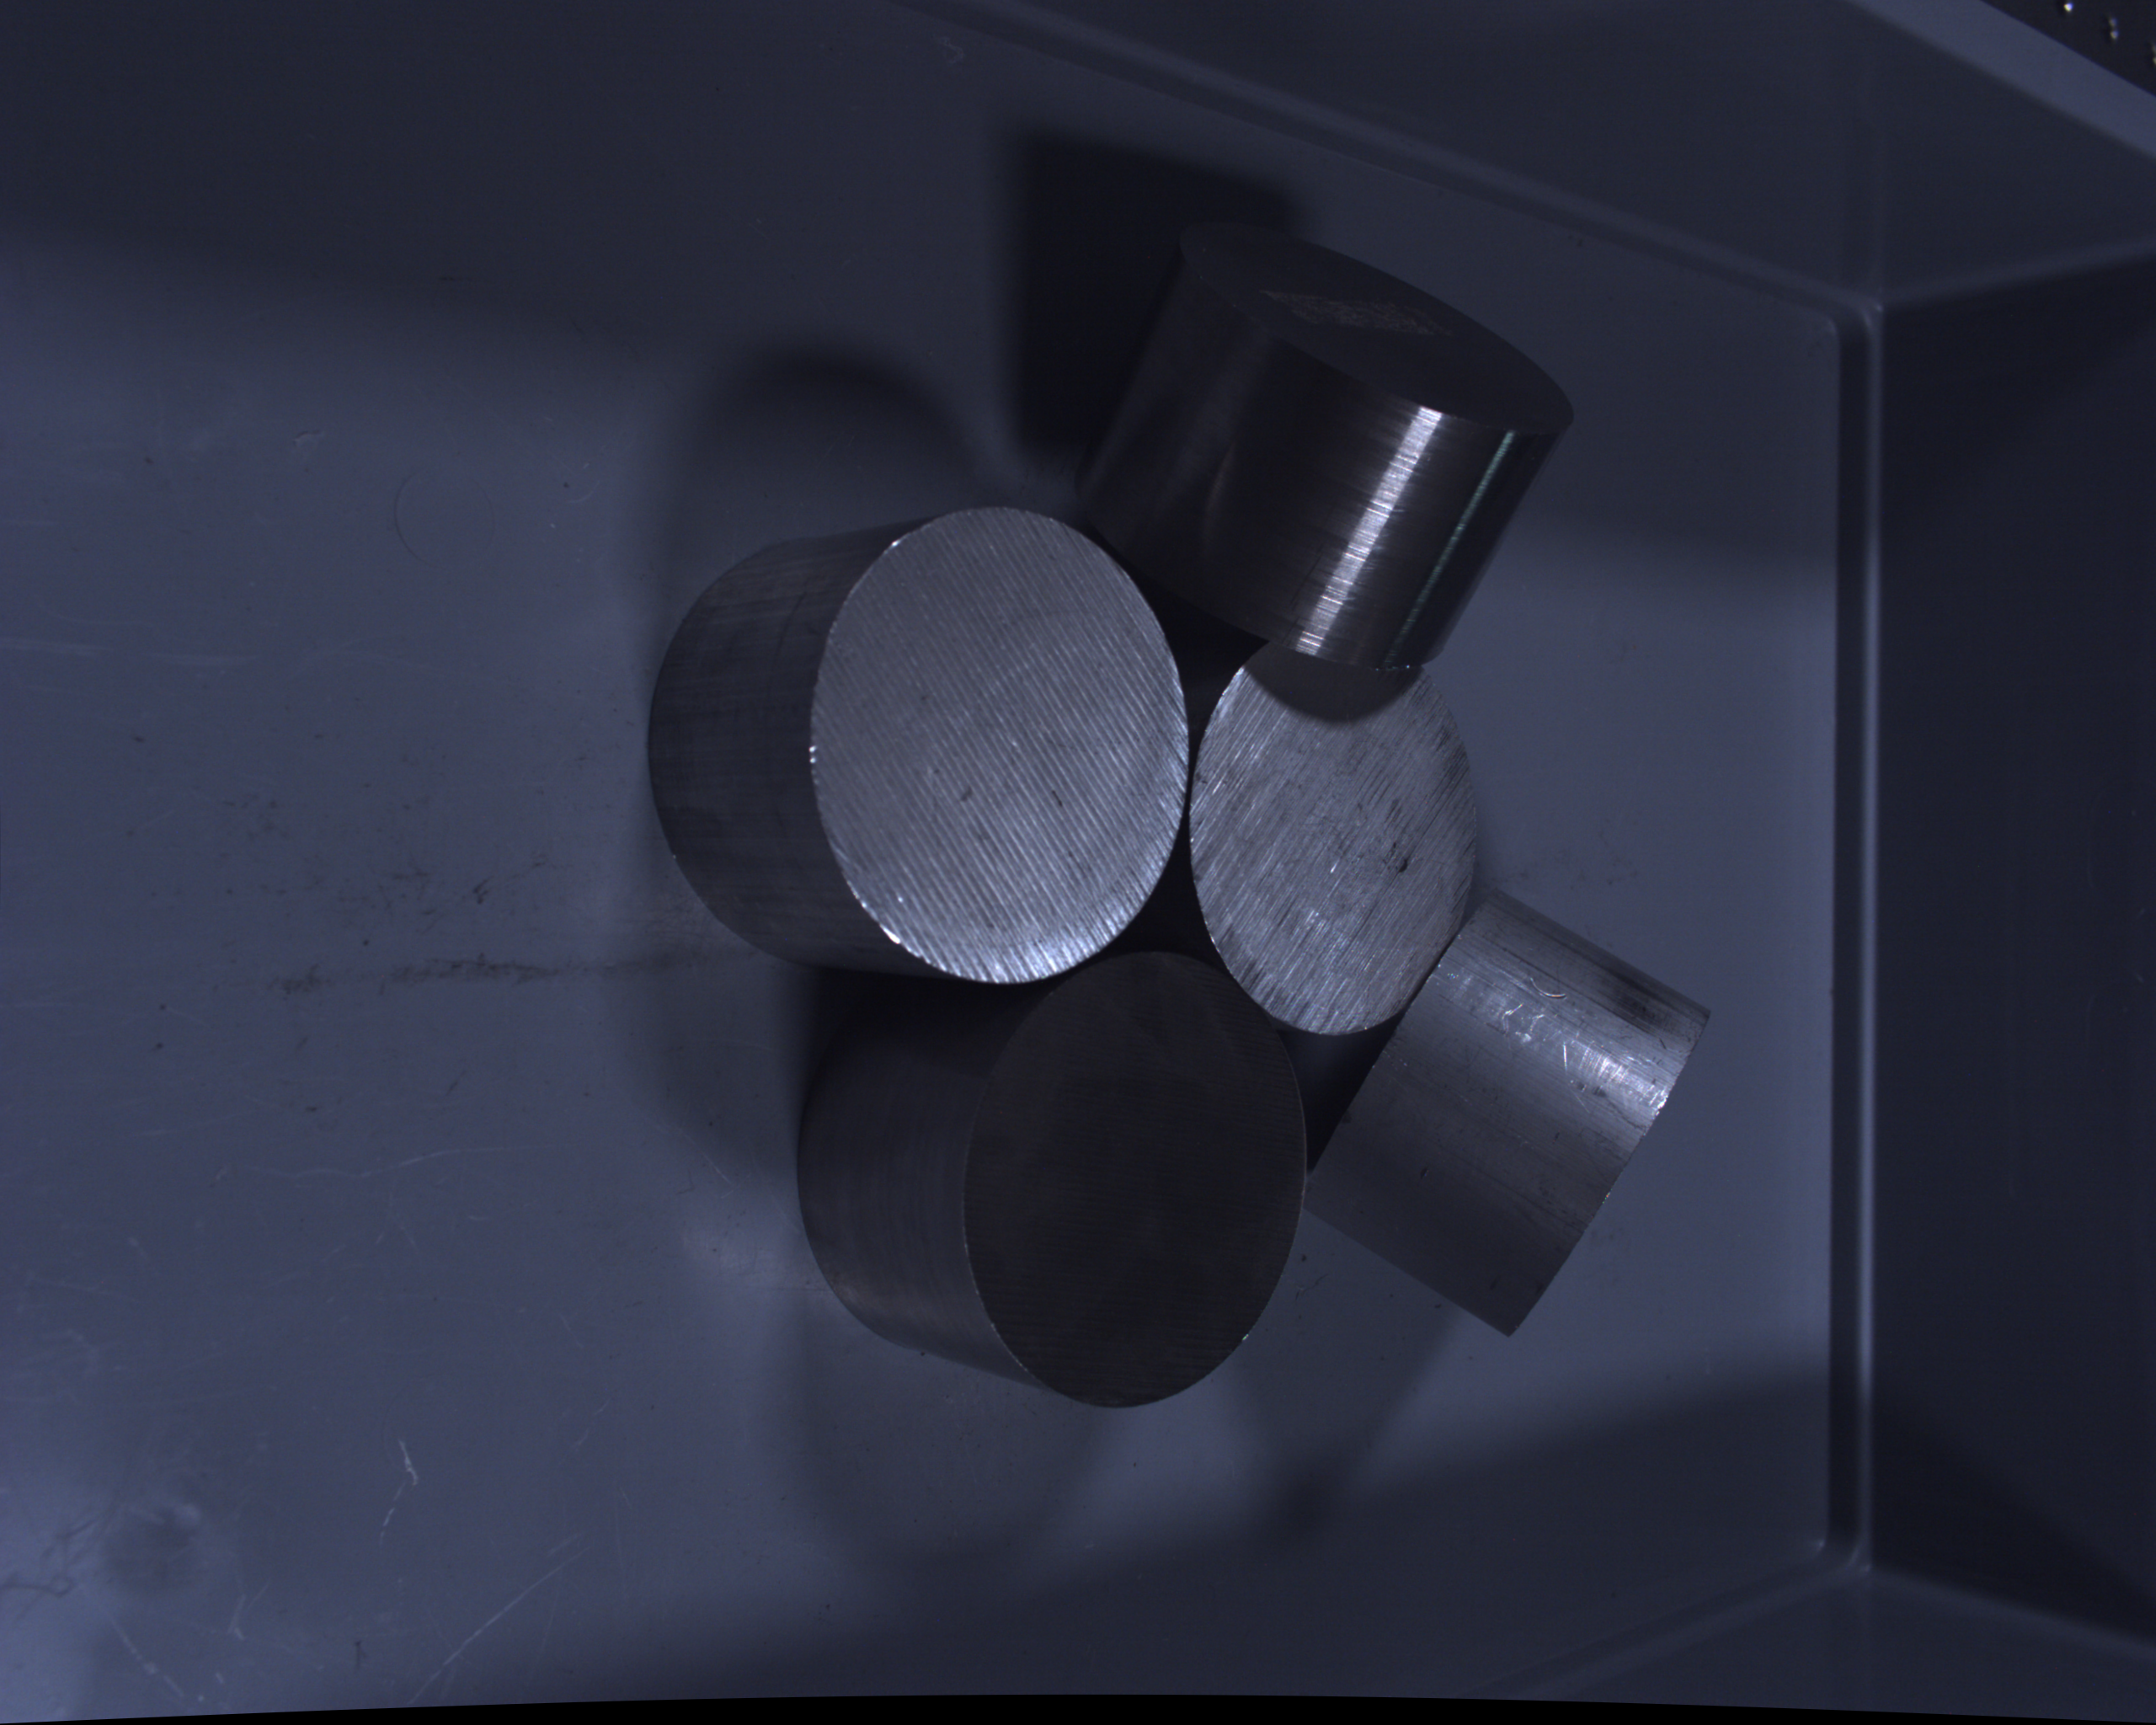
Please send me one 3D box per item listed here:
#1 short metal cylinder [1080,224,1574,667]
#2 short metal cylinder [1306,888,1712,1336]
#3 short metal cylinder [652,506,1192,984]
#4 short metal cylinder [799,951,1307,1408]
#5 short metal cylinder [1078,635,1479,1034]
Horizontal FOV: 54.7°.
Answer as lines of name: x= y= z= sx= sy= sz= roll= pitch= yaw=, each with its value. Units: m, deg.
short metal cylinder: x=0.047 y=-0.081 z=0.400 sx=0.081 sy=0.080 sz=0.050 roll=-4 pitch=131 yaw=-40
short metal cylinder: x=0.090 y=0.052 z=0.439 sx=0.080 sy=0.050 sz=0.080 roll=-54 pitch=166 yaw=-20
short metal cylinder: x=-0.026 y=-0.020 z=0.367 sx=0.081 sy=0.050 sz=0.079 roll=0 pitch=90 yaw=-40
short metal cylinder: x=-0.004 y=0.056 z=0.387 sx=0.081 sy=0.050 sz=0.079 roll=0 pitch=90 yaw=-40
short metal cylinder: x=0.035 y=-0.007 z=0.419 sx=0.081 sy=0.050 sz=0.079 roll=0 pitch=90 yaw=-40
